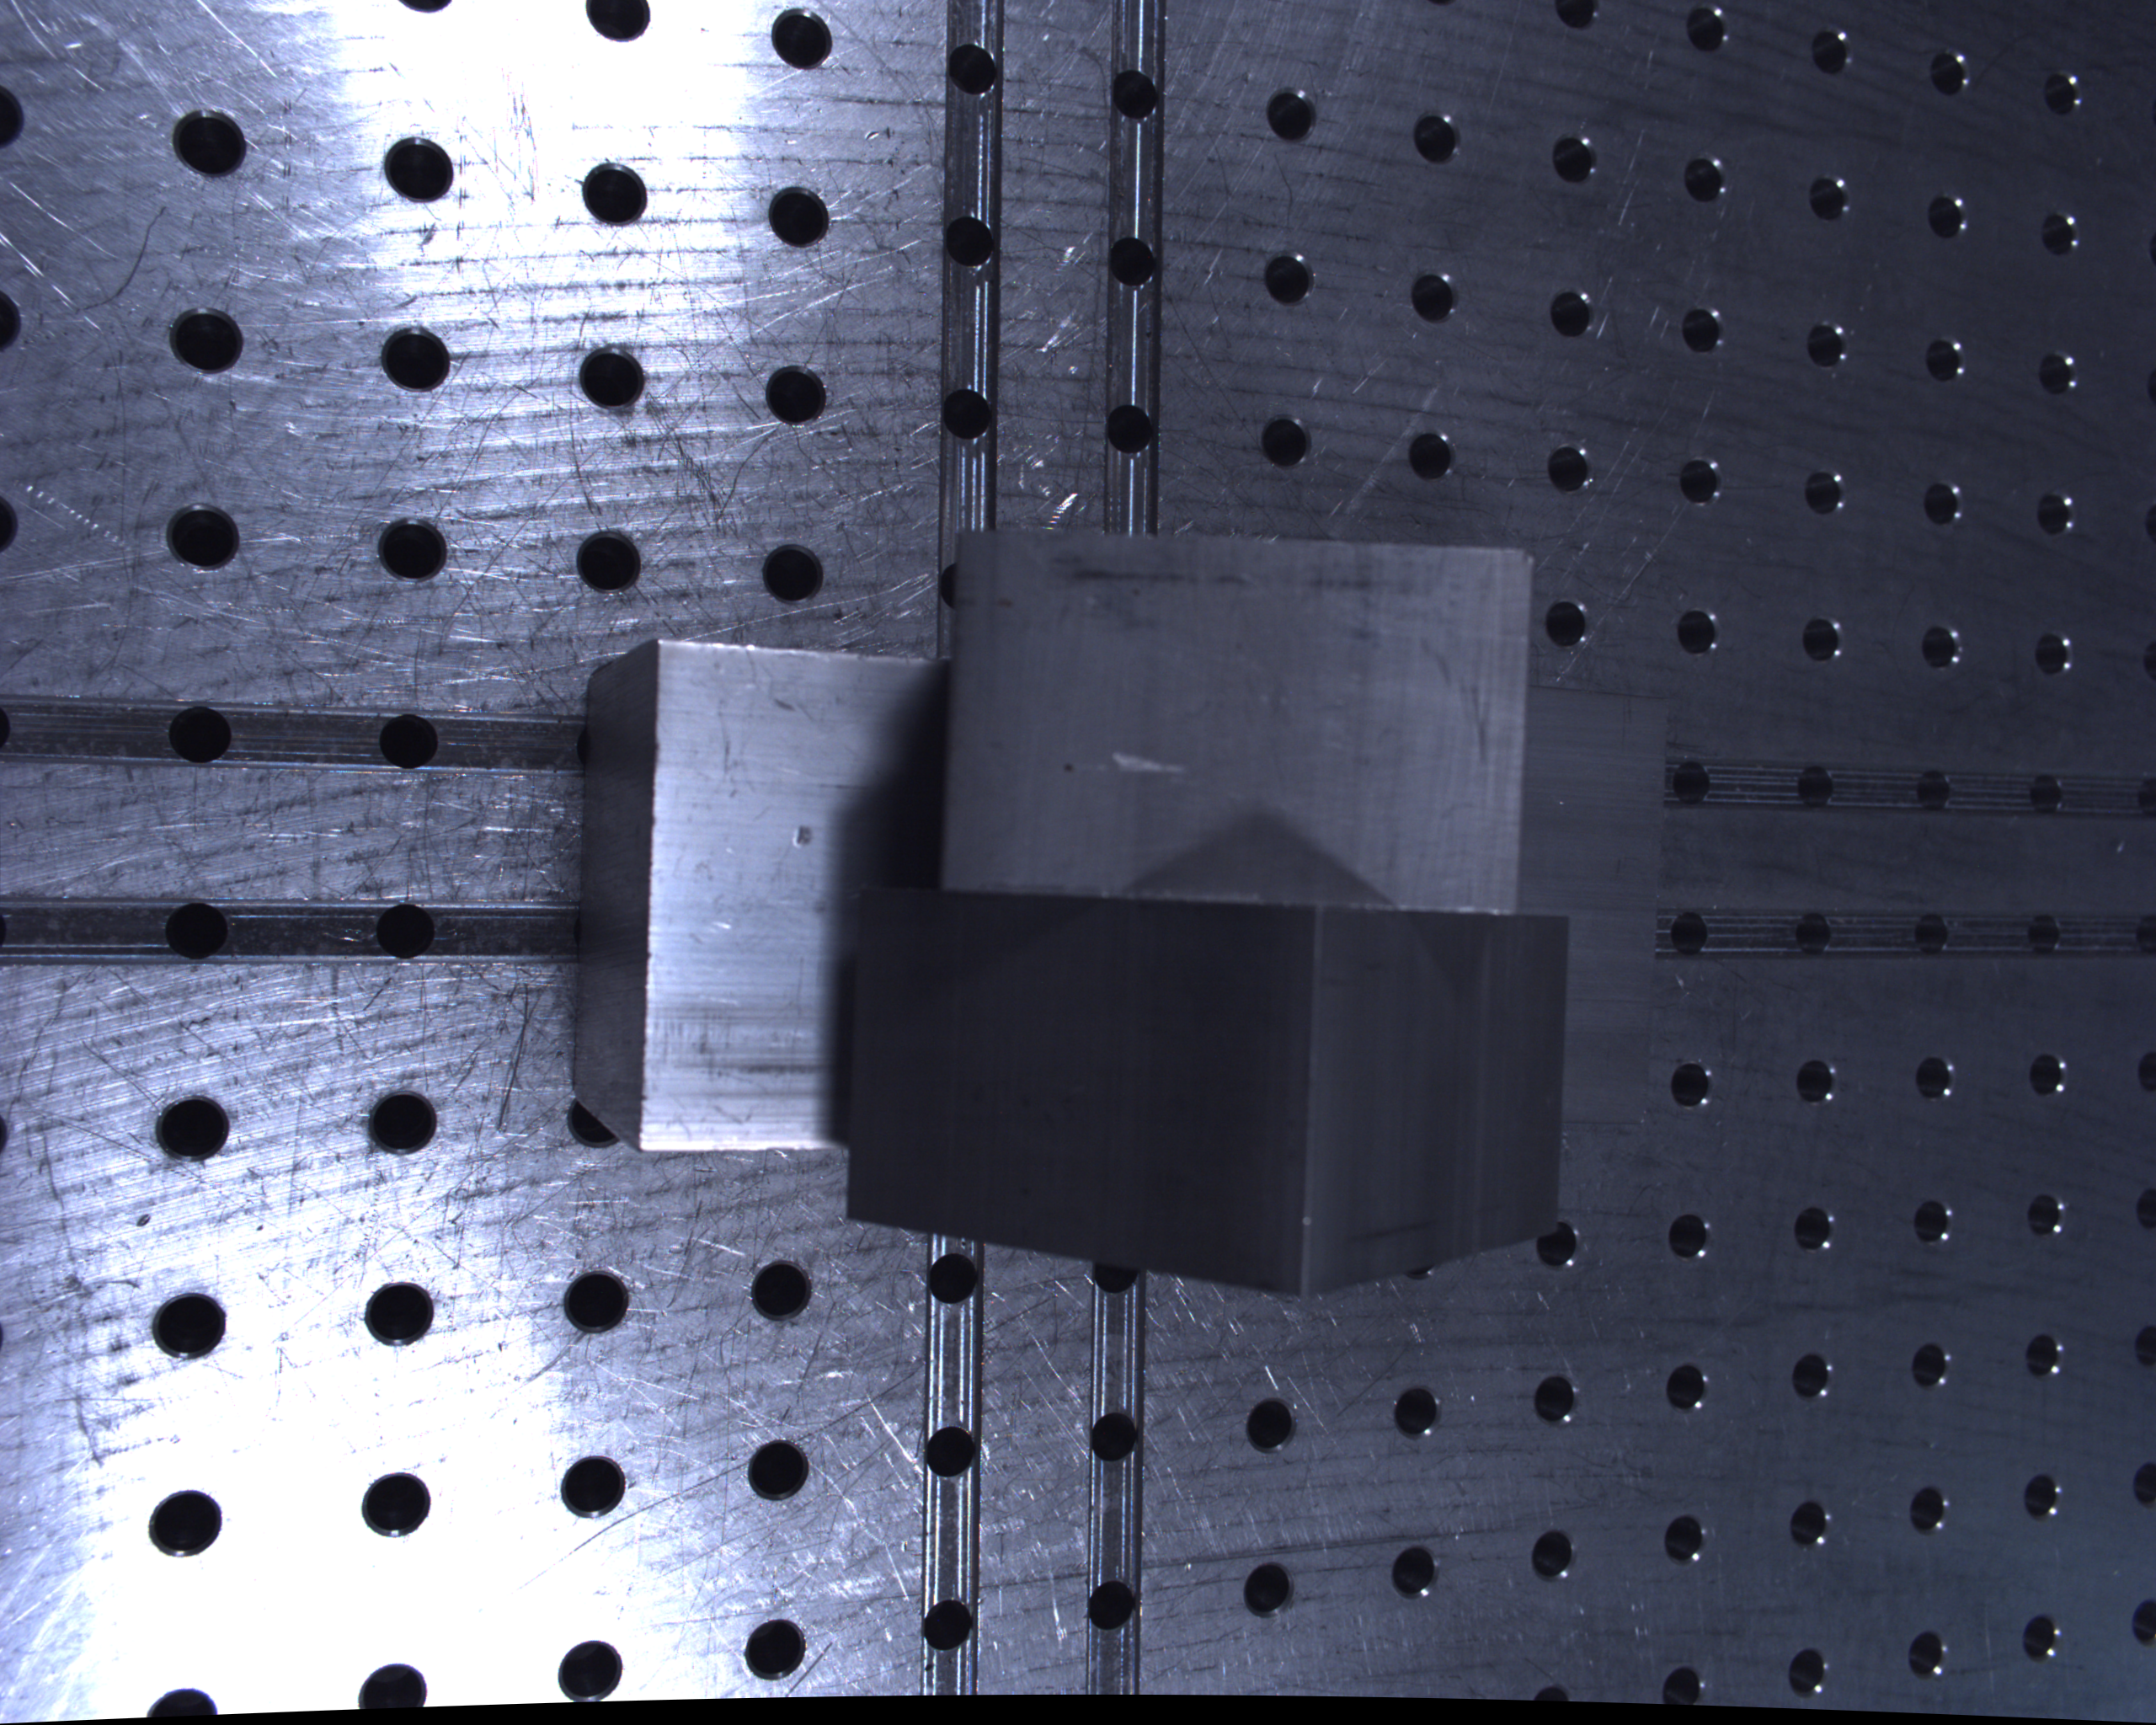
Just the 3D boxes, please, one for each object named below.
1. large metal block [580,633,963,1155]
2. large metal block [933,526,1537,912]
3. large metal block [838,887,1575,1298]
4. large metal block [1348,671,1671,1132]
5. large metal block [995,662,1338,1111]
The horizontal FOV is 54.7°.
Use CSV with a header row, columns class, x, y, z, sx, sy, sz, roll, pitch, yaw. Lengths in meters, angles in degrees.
class,x,y,z,sx,sy,sz,roll,pitch,yaw
large metal block,-0.056,0.005,0.364,0.050,0.080,0.079,2,90,-20
large metal block,0.023,-0.019,0.325,0.080,0.080,0.050,2,89,2
large metal block,0.021,0.031,0.321,0.080,0.080,0.050,4,88,-53
large metal block,0.069,0.008,0.410,0.050,0.080,0.080,4,89,-20
large metal block,0.003,0.005,0.399,0.081,0.050,0.079,3,89,-20
